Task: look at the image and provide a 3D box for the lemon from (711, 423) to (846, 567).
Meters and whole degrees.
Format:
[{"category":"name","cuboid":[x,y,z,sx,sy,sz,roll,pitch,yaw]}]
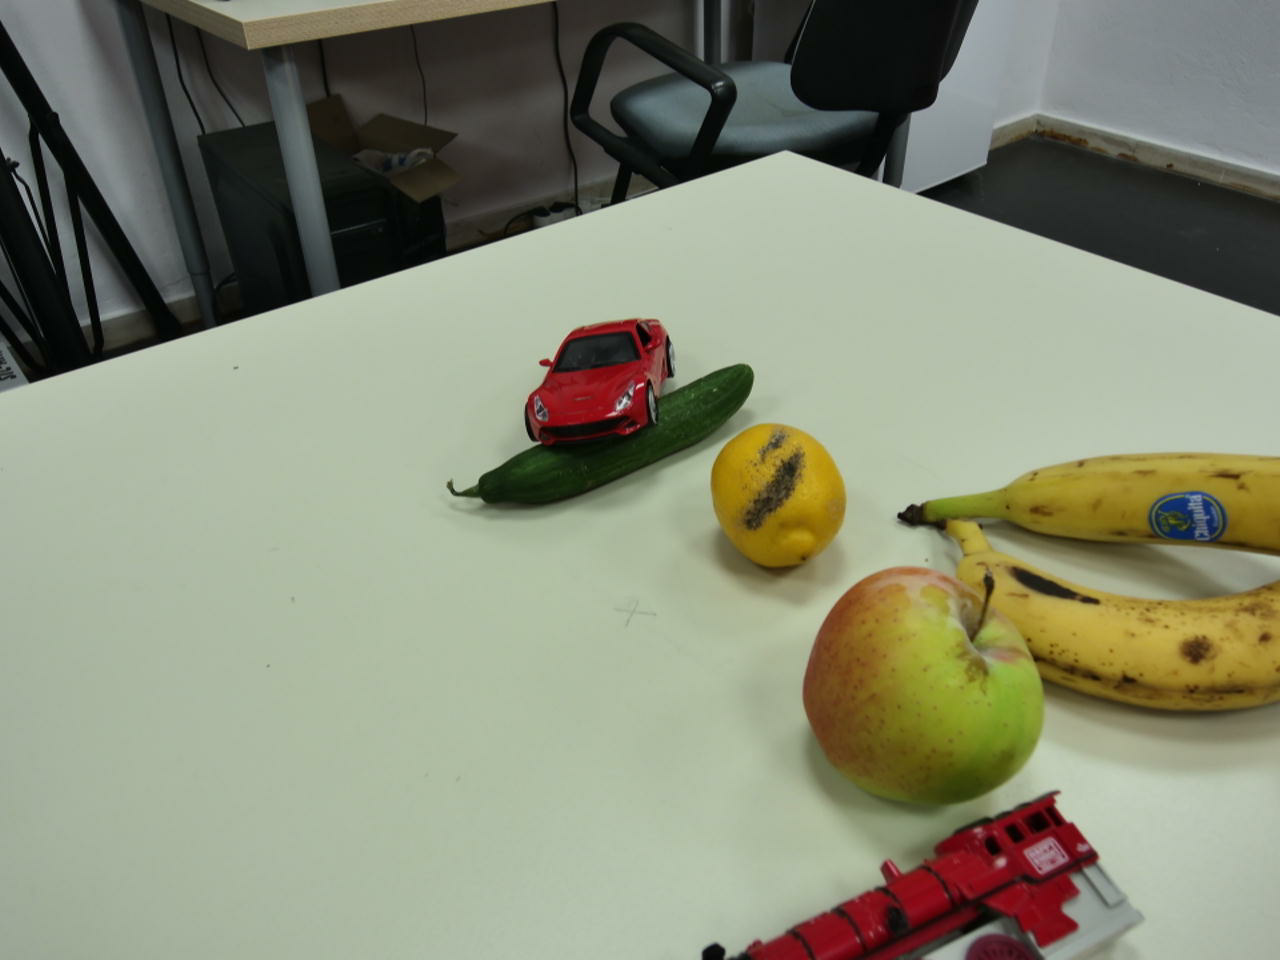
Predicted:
[{"category":"lemon","cuboid":[0.059,0.006,0.426,0.061,0.056,0.058,29,44,36]}]
